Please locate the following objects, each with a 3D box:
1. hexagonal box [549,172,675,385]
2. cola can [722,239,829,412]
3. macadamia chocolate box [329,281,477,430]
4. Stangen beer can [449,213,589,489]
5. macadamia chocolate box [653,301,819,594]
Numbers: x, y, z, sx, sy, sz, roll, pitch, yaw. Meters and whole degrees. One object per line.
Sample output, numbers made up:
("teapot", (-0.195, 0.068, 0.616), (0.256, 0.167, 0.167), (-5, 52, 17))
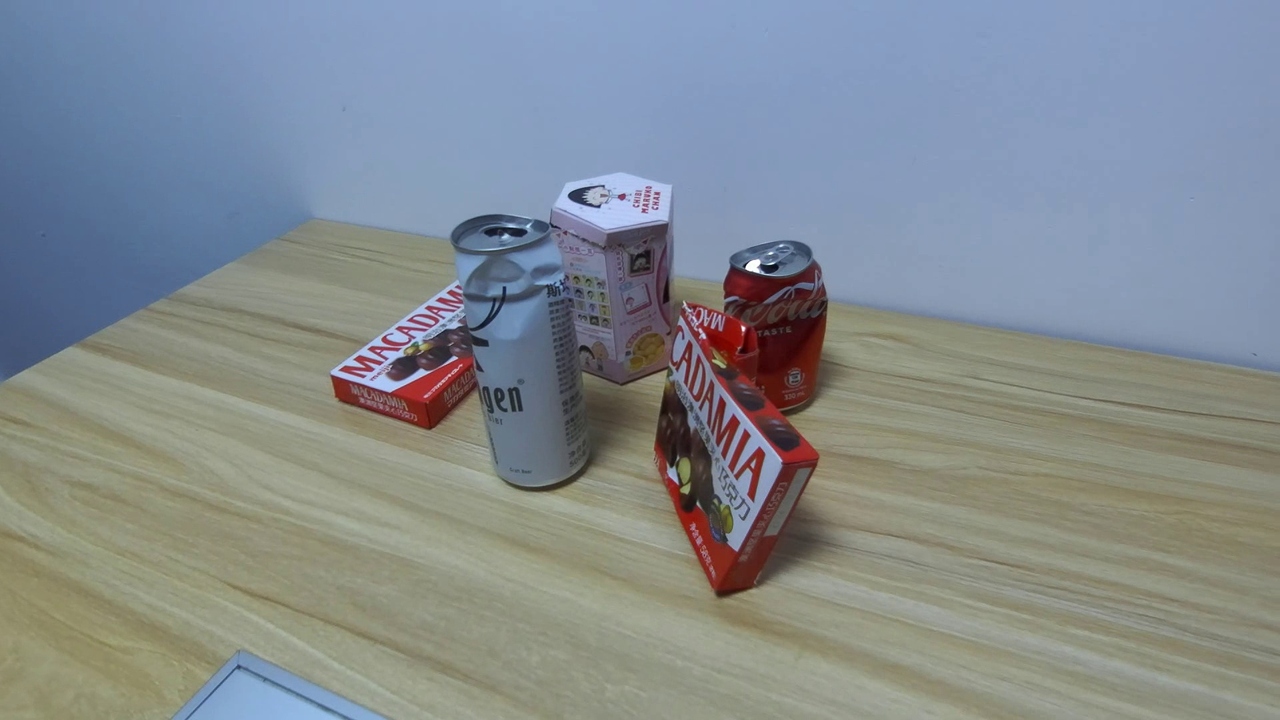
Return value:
("hexagonal box", (-0.016, -0.061, 0.528), (0.085, 0.135, 0.092), (1, 35, 6))
("cola can", (0.091, -0.022, 0.482), (0.069, 0.112, 0.065), (-1, 35, 4))
("macadamia chocolate box", (-0.147, -0.019, 0.578), (0.102, 0.027, 0.187), (15, 41, 22))
("Stangen beer can", (-0.069, -0.001, 0.427), (0.066, 0.166, 0.066), (-5, 34, -2))
("macadamia chocolate box", (0.046, 0.046, 0.392), (0.056, 0.112, 0.126), (-9, 35, -10))
